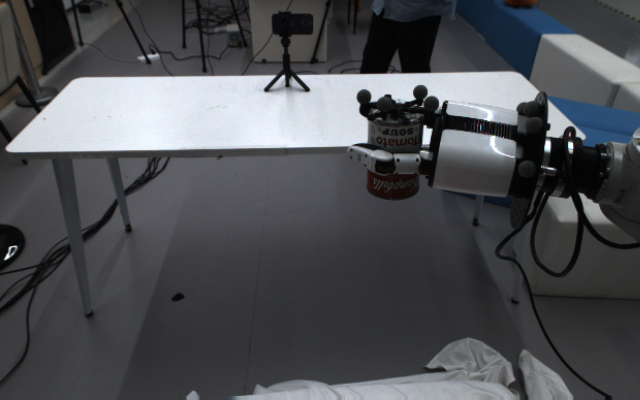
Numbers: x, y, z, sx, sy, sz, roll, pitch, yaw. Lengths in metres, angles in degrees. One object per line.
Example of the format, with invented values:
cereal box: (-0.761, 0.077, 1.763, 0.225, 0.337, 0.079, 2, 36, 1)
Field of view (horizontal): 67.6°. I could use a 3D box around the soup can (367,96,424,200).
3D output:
soup can: (0.093, -0.061, 0.596, 0.067, 0.101, 0.067, -2, 33, 1)
